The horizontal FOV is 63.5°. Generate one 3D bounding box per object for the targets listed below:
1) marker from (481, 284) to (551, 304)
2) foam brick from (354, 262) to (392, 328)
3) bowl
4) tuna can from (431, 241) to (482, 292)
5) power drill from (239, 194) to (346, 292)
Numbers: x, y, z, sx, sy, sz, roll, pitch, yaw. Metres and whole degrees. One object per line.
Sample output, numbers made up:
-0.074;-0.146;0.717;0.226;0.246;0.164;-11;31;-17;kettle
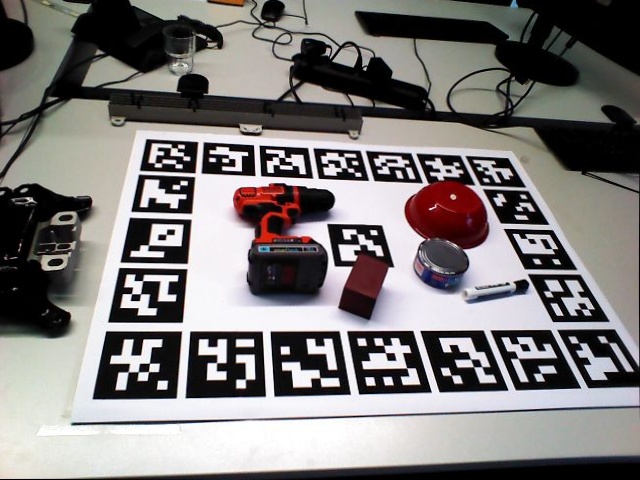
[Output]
0.315;0.085;0.824;0.121;0.020;0.019;-6;48;-16;marker
0.090;0.082;0.776;0.051;0.053;0.077;19;46;7;foam brick
0.261;-0.048;0.940;0.162;0.055;0.161;2;38;-2;bowl
0.225;0.043;0.843;0.086;0.034;0.085;7;44;-7;tuna can
-0.036;-0.002;0.832;0.184;0.057;0.186;2;42;-13;power drill
